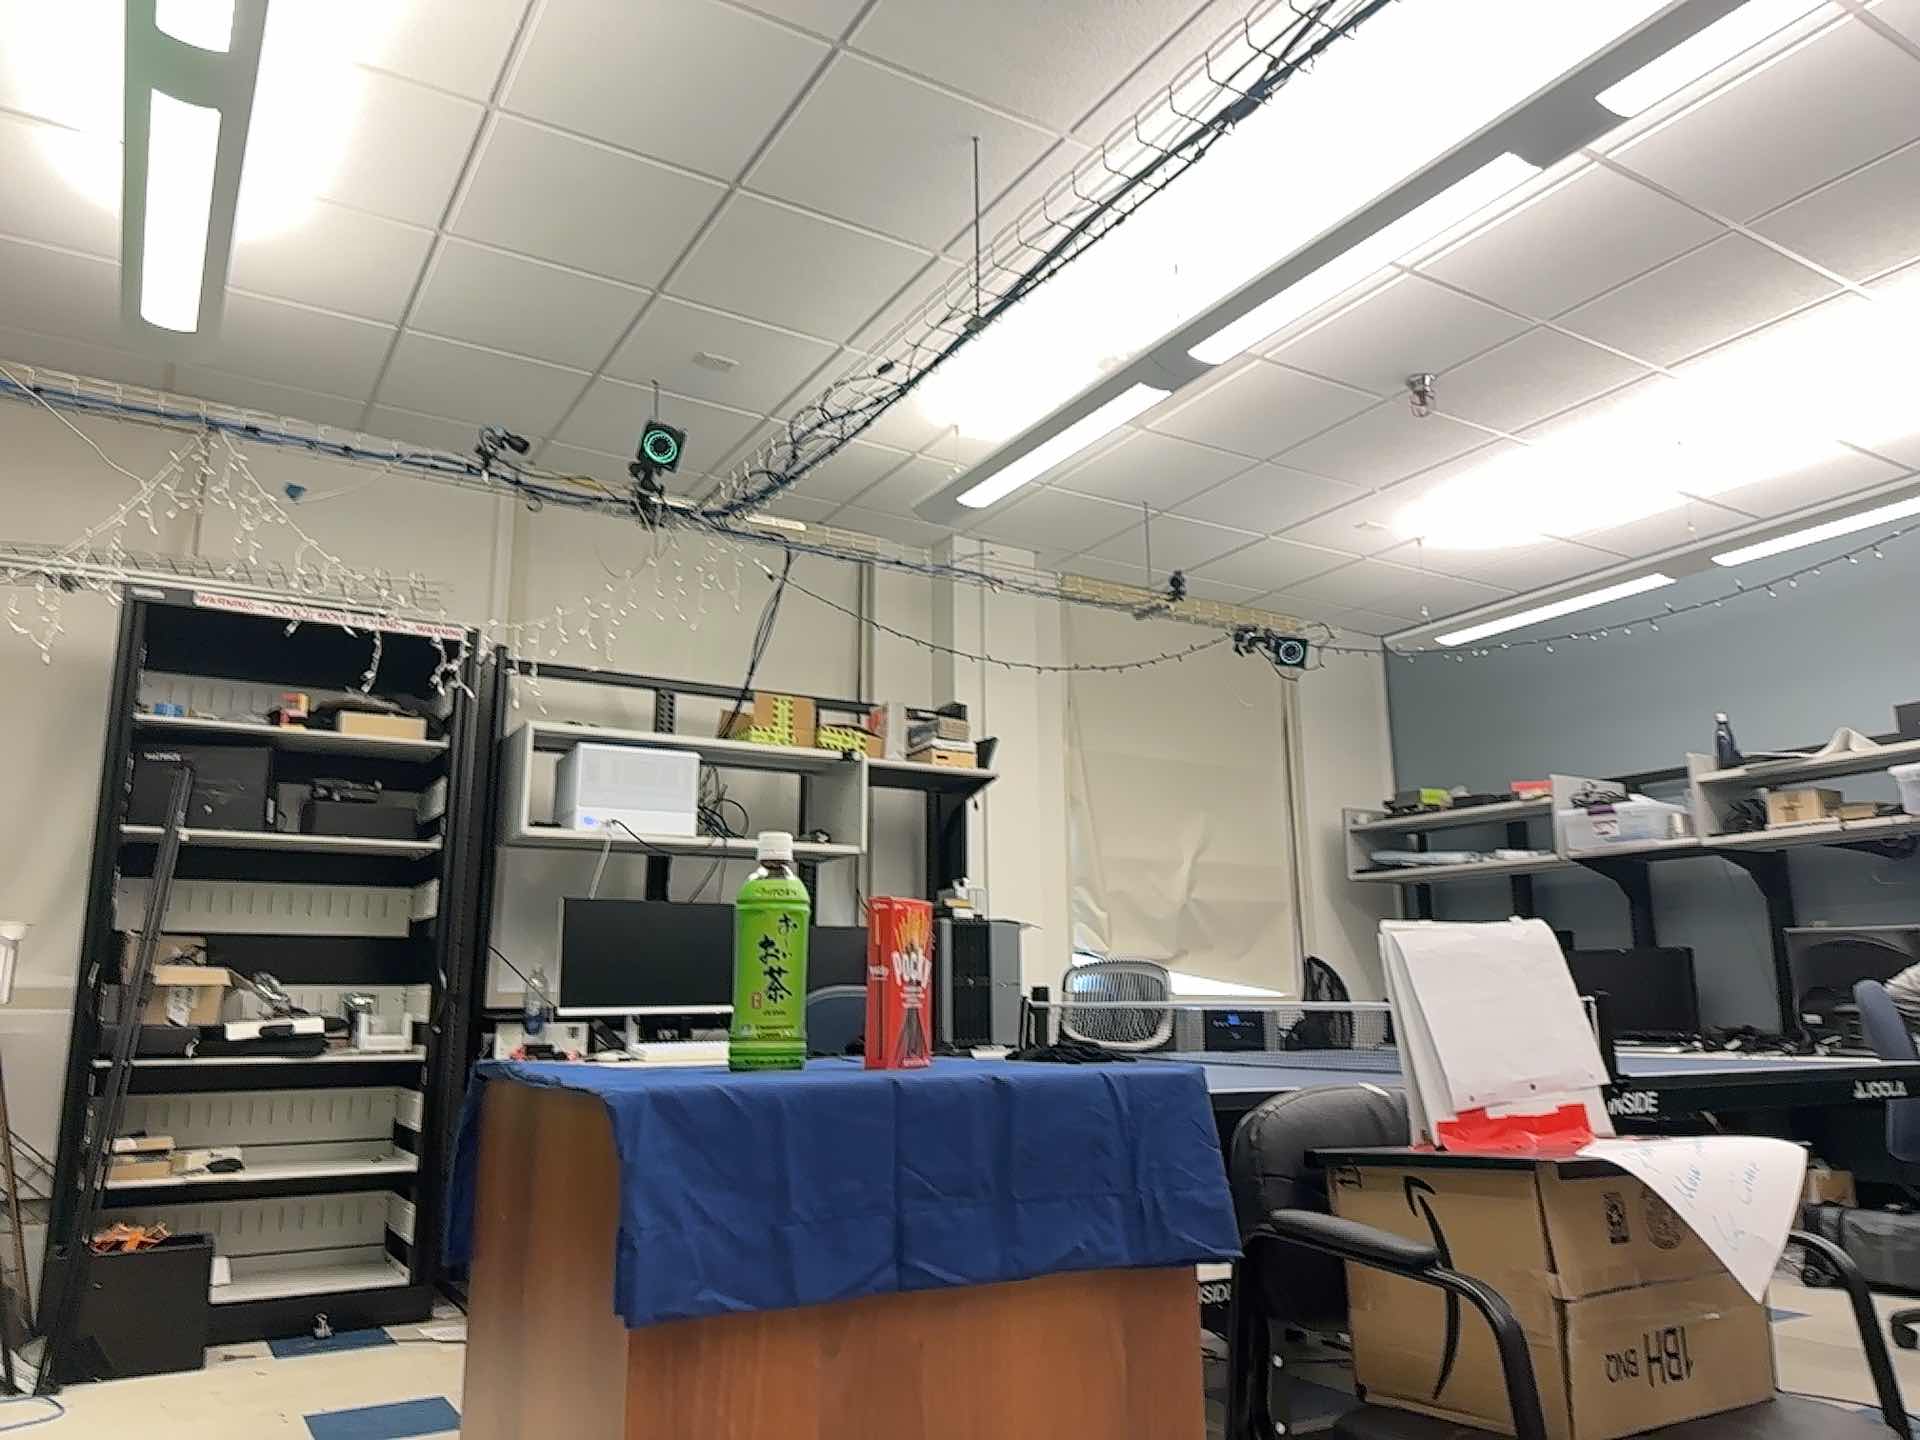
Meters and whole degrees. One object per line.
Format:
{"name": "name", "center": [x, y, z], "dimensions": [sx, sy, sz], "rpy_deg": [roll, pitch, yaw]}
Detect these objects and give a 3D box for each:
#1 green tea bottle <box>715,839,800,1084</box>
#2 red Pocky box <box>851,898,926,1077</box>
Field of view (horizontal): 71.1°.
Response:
{"name": "green tea bottle", "center": [-0.179, 0.212, 1.192], "dimensions": [0.073, 0.212, 0.073], "rpy_deg": [-1, -11, 0]}
{"name": "red Pocky box", "center": [-0.064, 0.240, 1.210], "dimensions": [0.028, 0.155, 0.083], "rpy_deg": [-5, -12, 29]}
